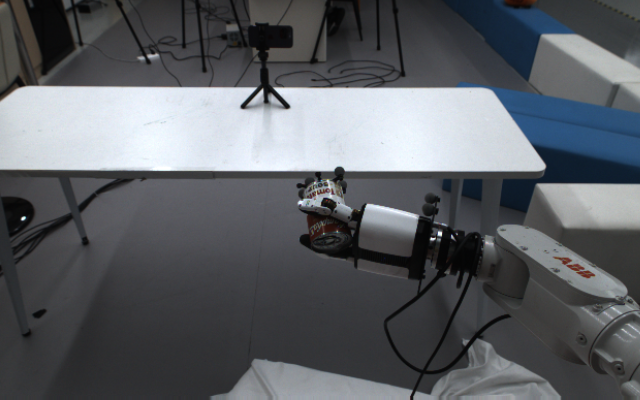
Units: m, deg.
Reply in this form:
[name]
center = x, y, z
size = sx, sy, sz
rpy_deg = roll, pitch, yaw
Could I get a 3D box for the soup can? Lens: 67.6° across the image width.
[soup can]
center = 0.013, 0.027, 0.778
size = 0.067, 0.067, 0.101
rpy_deg = -5, 57, -10
